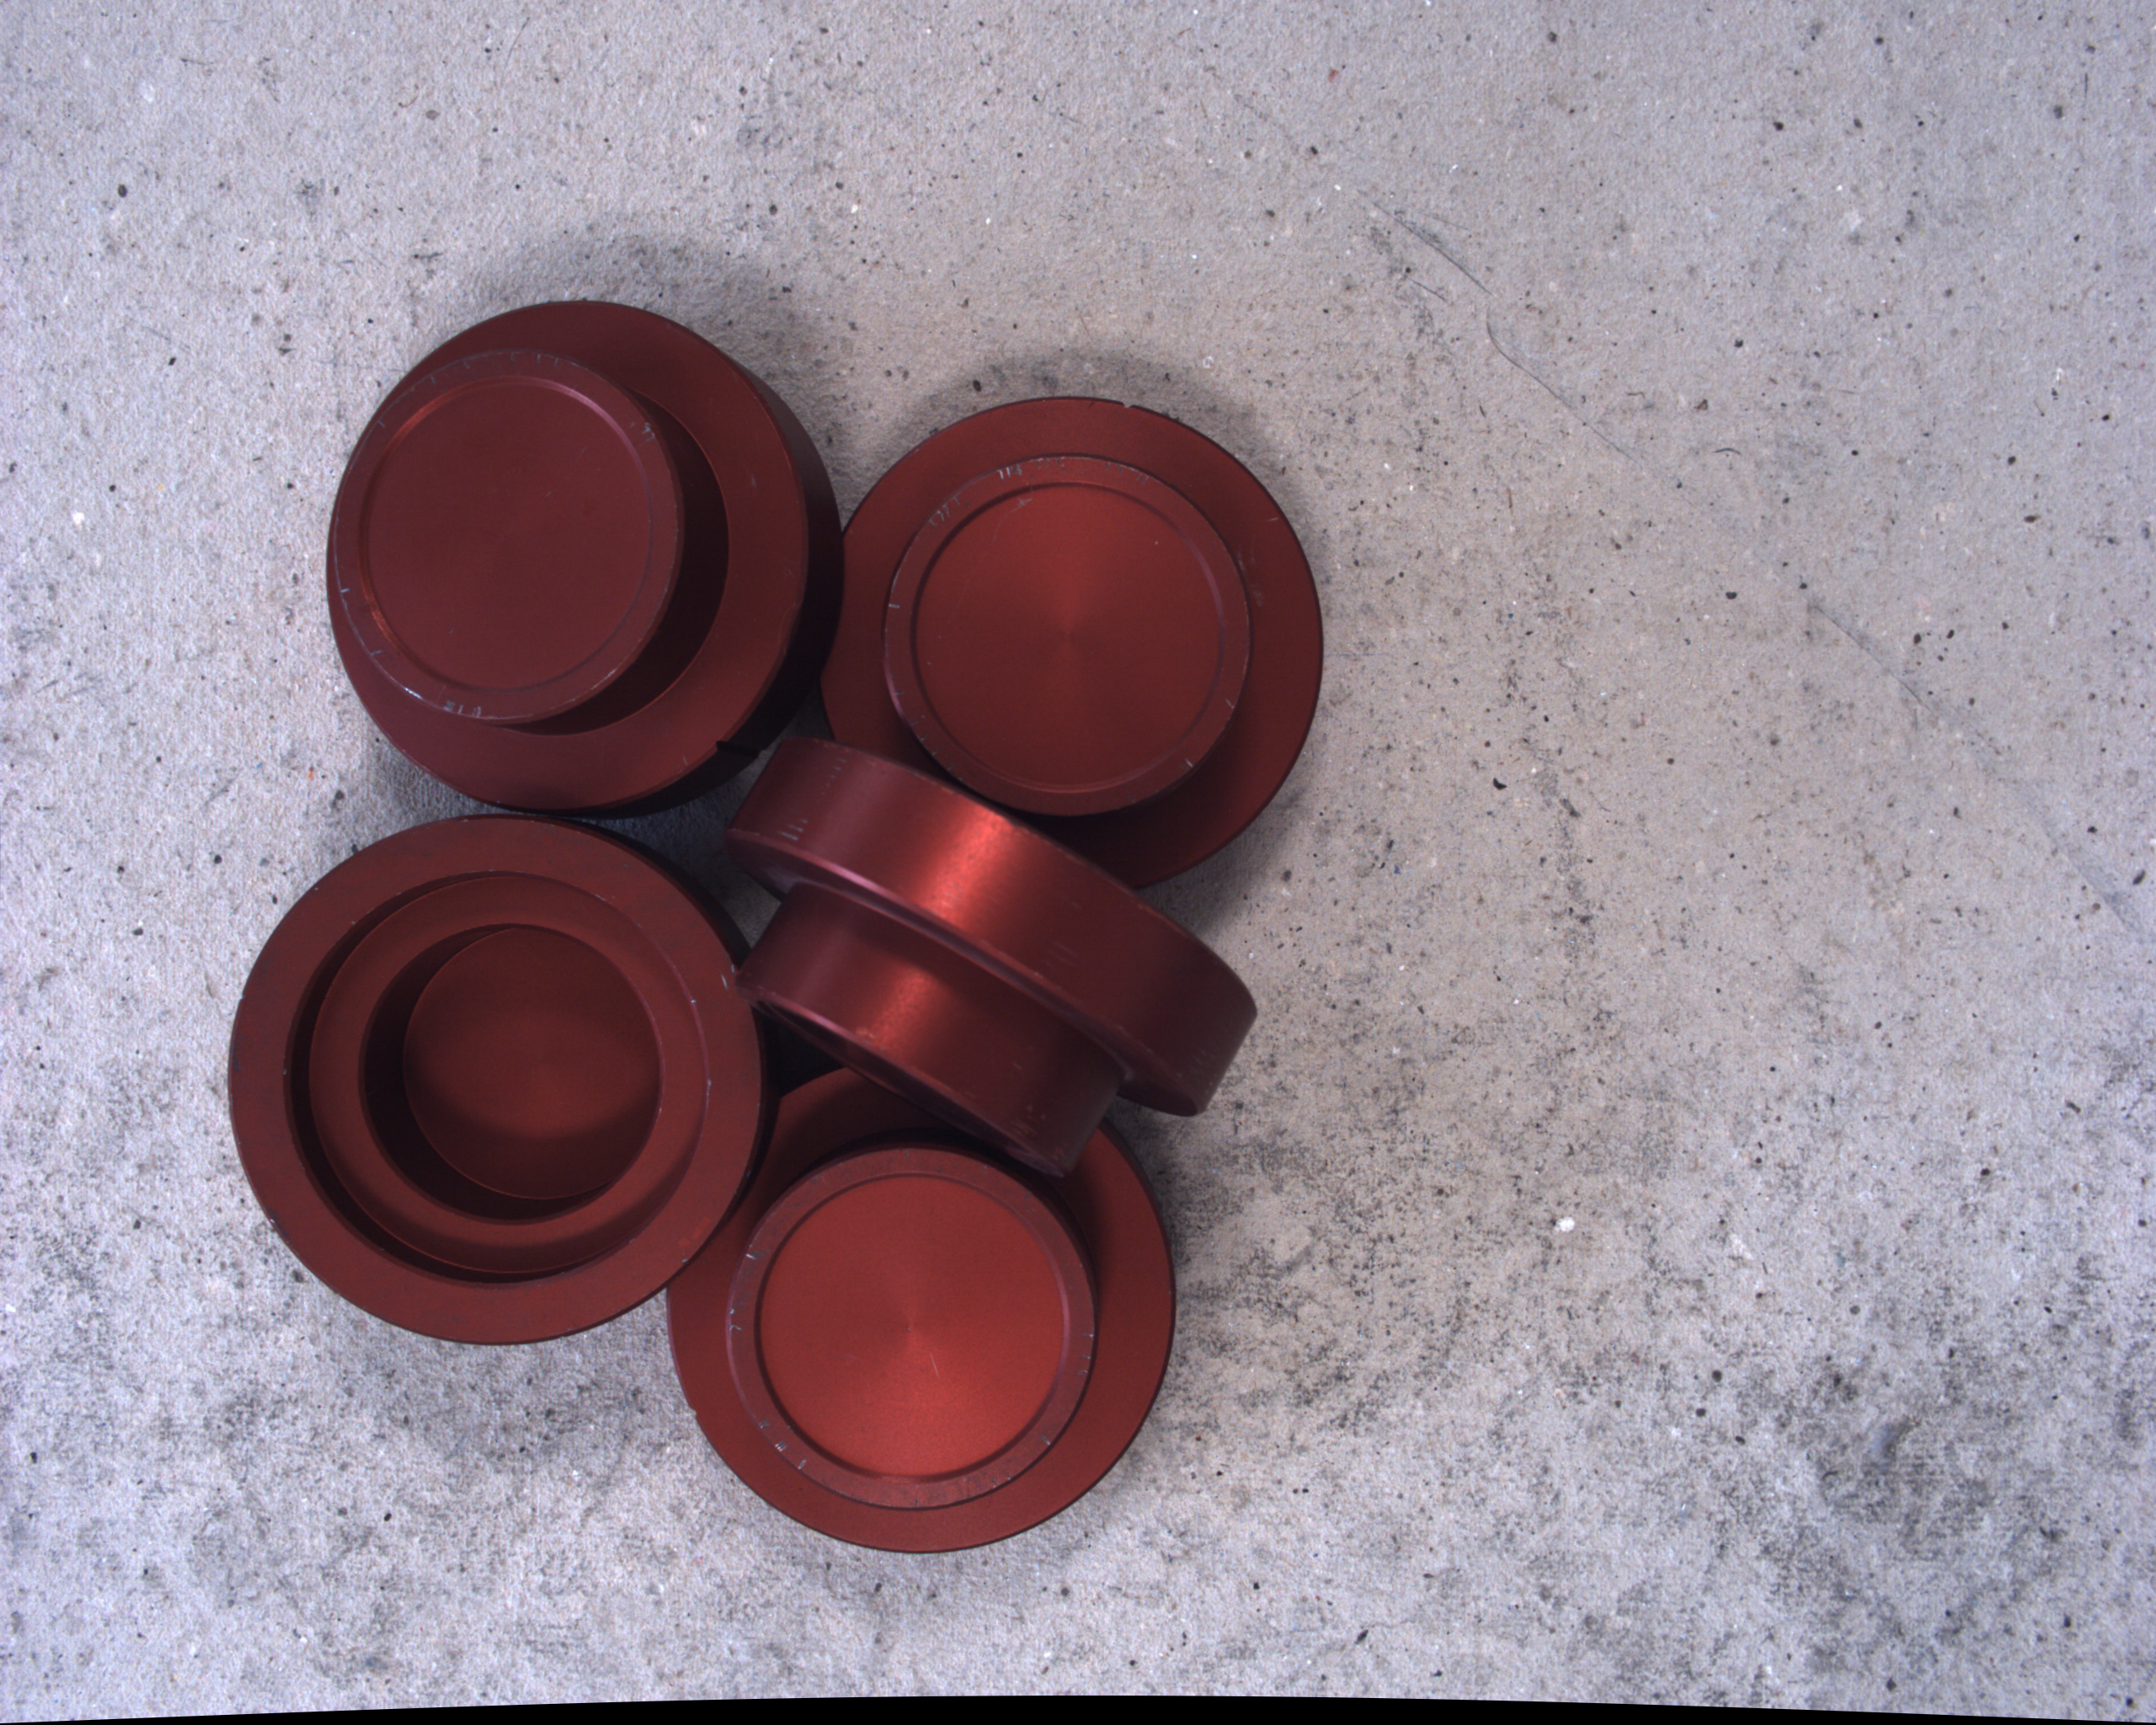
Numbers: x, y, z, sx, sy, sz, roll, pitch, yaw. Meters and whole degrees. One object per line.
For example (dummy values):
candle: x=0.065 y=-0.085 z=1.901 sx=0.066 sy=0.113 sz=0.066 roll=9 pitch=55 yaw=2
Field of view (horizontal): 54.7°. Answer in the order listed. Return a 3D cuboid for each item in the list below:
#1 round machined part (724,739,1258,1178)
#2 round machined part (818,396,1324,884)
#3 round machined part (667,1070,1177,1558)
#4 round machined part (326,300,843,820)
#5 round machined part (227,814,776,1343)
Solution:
round machined part: x=-0.021 y=0.022 z=0.372 sx=0.098 sy=0.098 sz=0.042 roll=29 pitch=77 yaw=0
round machined part: x=-0.002 y=-0.042 z=0.402 sx=0.099 sy=0.042 sz=0.097 roll=0 pitch=89 yaw=-1
round machined part: x=-0.030 y=0.085 z=0.402 sx=0.099 sy=0.042 sz=0.097 roll=0 pitch=89 yaw=-1
round machined part: x=-0.098 y=-0.057 z=0.391 sx=0.098 sy=0.042 sz=0.097 roll=0 pitch=88 yaw=13
round machined part: x=-0.106 y=0.039 z=0.402 sx=0.099 sy=0.042 sz=0.097 roll=0 pitch=92 yaw=0
